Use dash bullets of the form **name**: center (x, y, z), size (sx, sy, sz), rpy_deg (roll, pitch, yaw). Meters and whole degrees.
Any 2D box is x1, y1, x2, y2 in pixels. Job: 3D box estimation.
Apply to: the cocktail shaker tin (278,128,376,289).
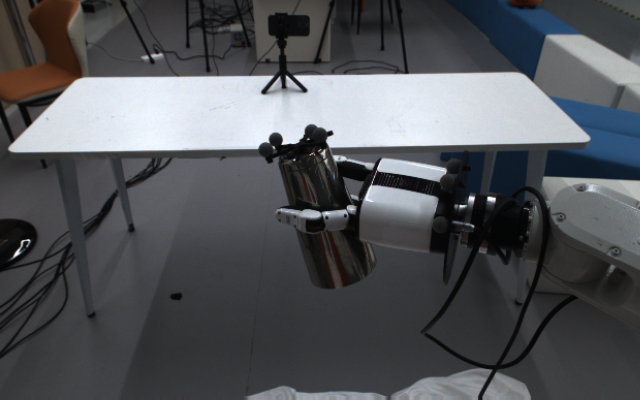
- **cocktail shaker tin**: center (0.006, 0.017, 0.616), size (0.093, 0.170, 0.093), rpy_deg (-17, 20, 7)
